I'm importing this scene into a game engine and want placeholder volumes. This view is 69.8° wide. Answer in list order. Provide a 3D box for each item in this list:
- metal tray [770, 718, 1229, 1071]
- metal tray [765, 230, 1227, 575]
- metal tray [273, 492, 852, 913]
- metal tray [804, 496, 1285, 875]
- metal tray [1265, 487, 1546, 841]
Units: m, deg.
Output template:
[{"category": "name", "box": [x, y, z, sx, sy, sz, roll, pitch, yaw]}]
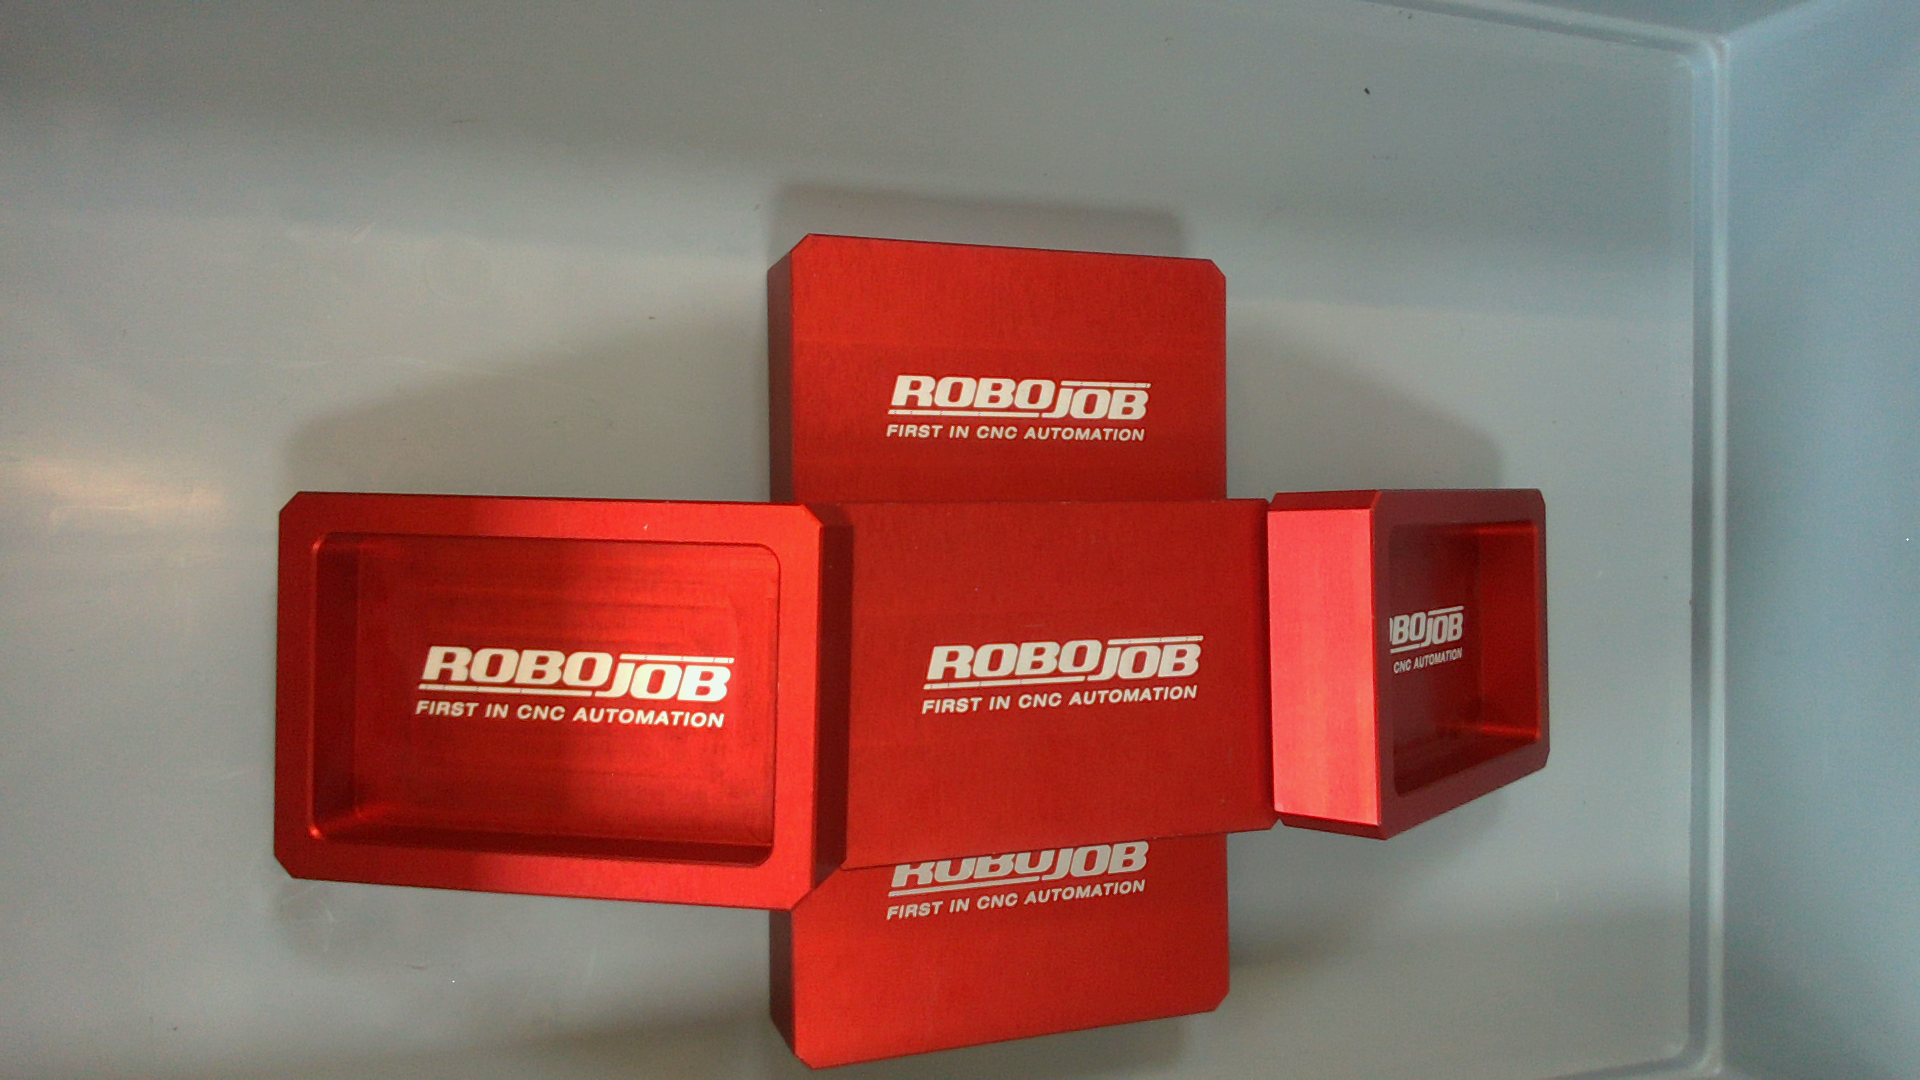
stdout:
[{"category": "metal tray", "box": [0.013, 0.093, 0.393, 0.130, 0.030, 0.090, -1, 90, -20]}, {"category": "metal tray", "box": [0.012, -0.036, 0.393, 0.130, 0.030, 0.090, -1, 90, -20]}, {"category": "metal tray", "box": [-0.093, 0.035, 0.323, 0.130, 0.030, 0.090, 1, 91, 9]}, {"category": "metal tray", "box": [0.022, 0.034, 0.366, 0.130, 0.030, 0.090, -1, 90, -20]}, {"category": "metal tray", "box": [0.136, 0.030, 0.406, 0.131, 0.030, 0.090, -3, 92, -49]}]
